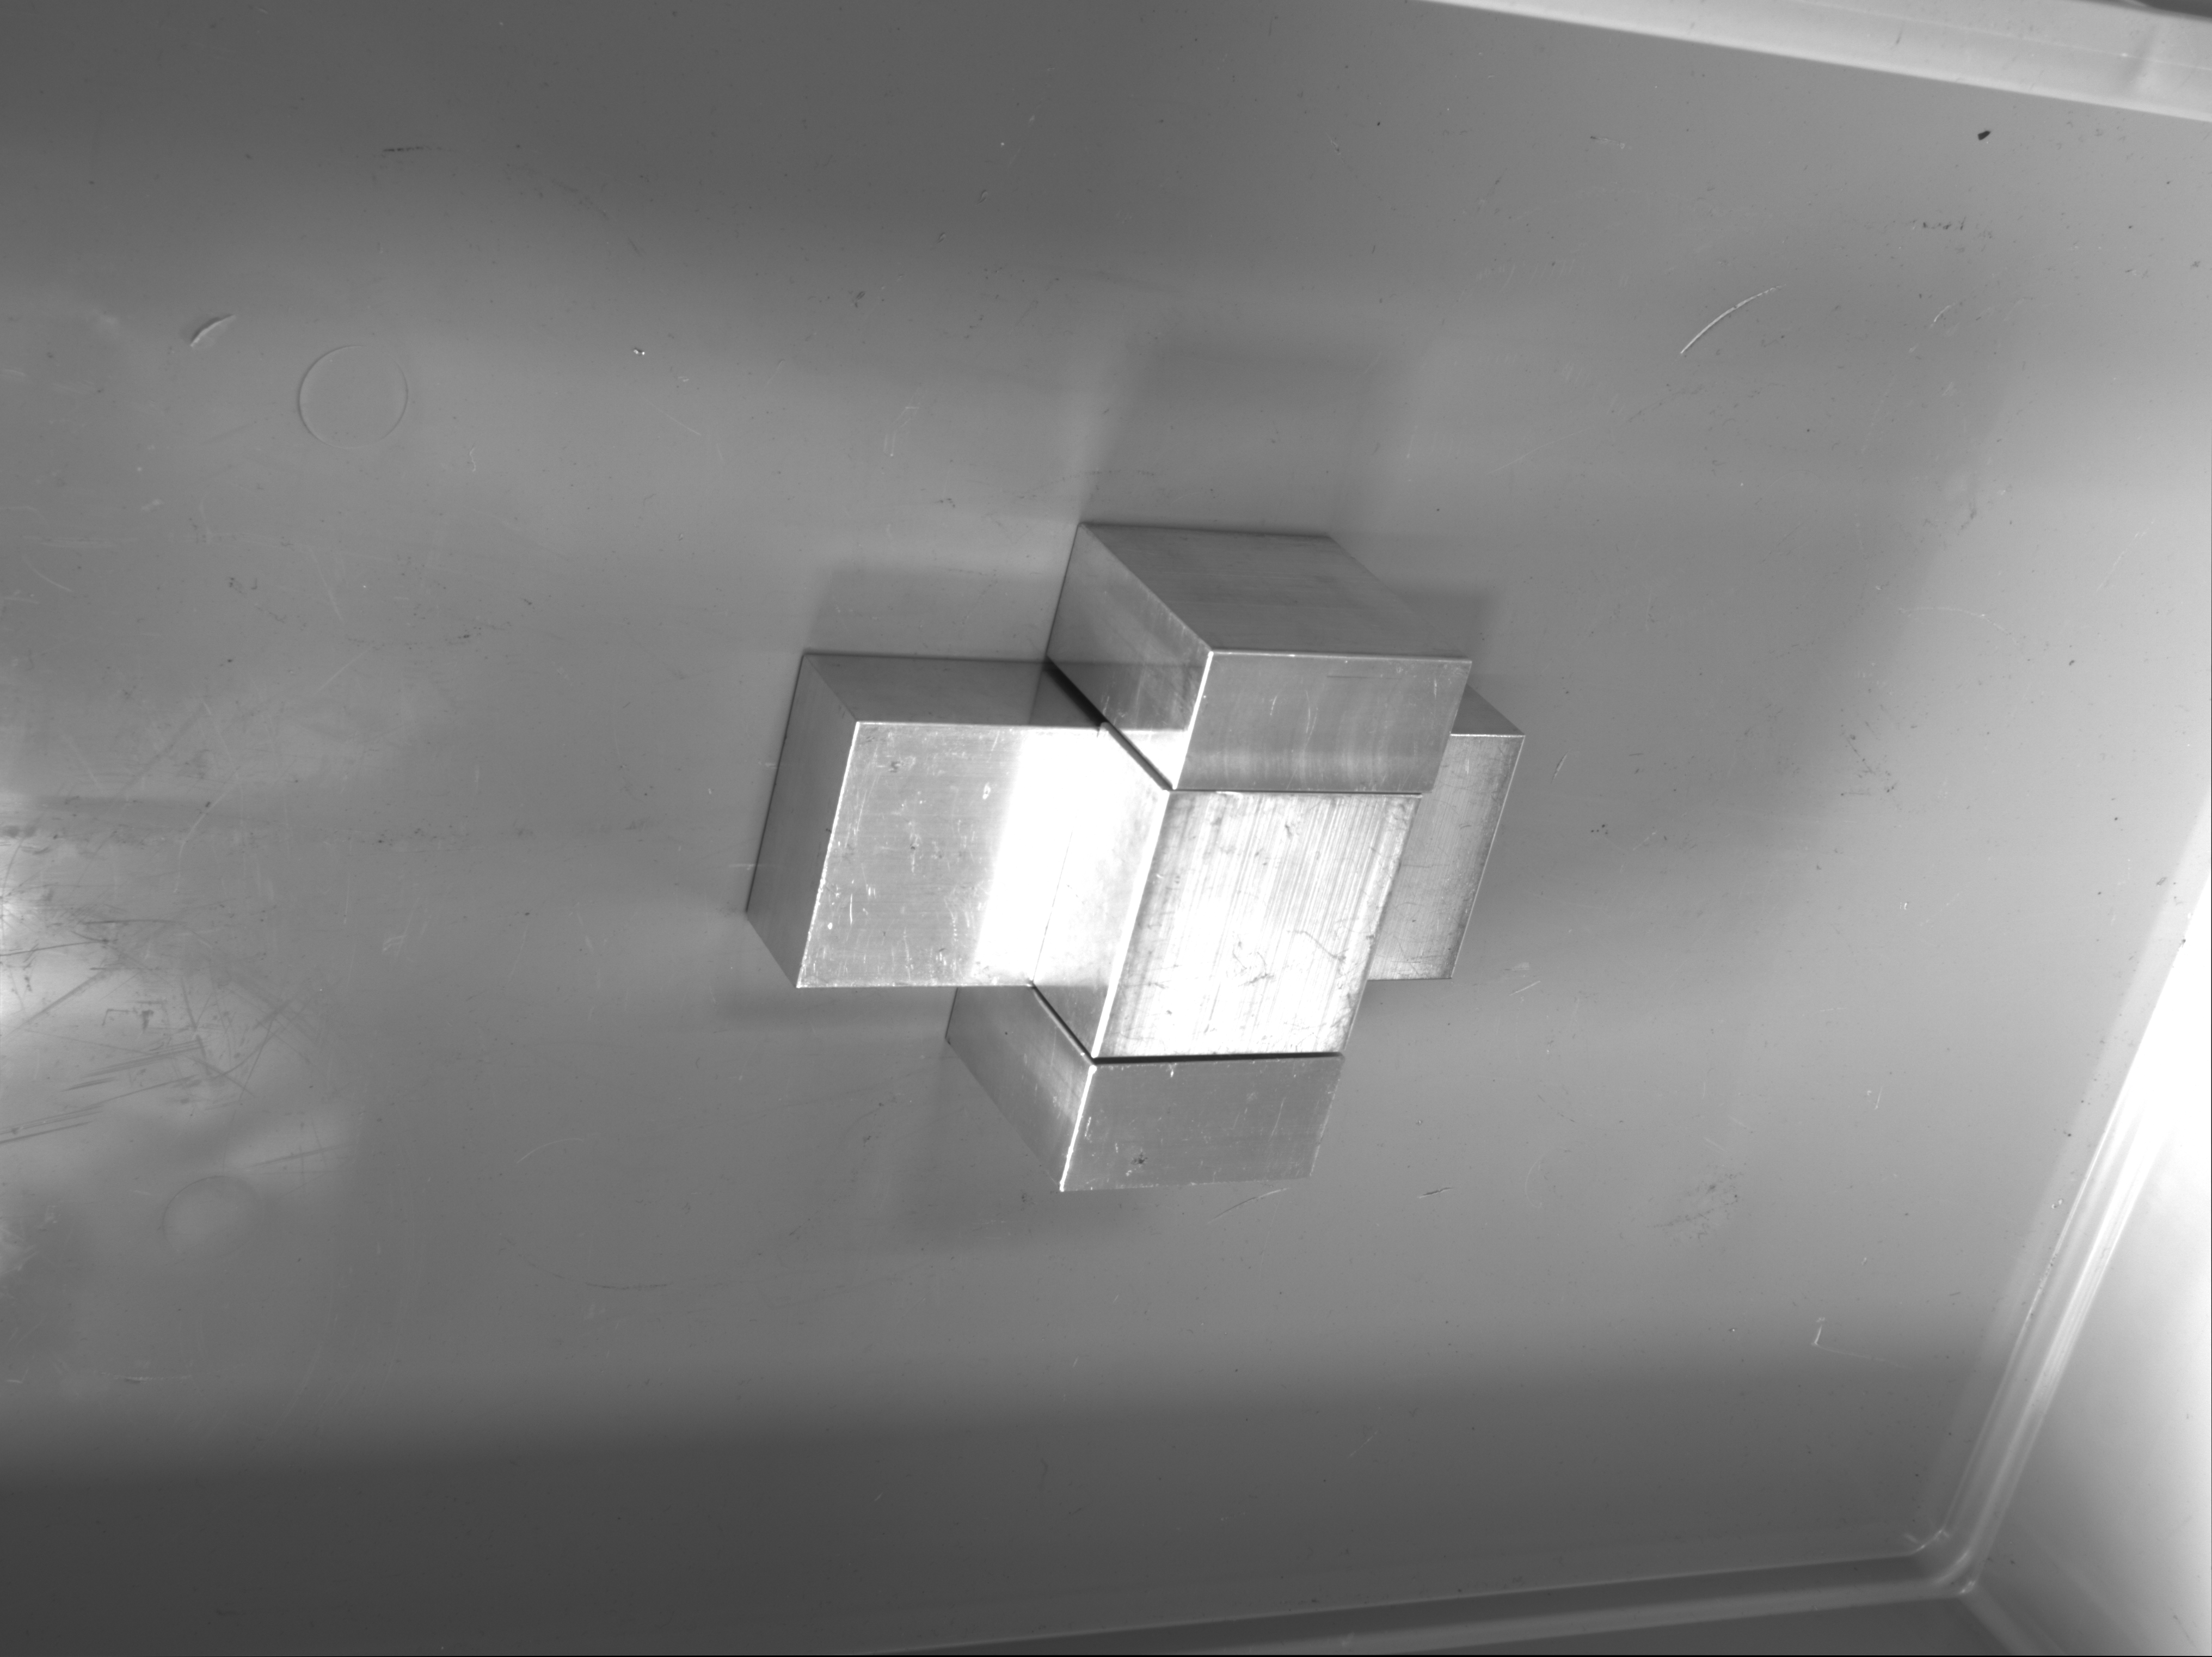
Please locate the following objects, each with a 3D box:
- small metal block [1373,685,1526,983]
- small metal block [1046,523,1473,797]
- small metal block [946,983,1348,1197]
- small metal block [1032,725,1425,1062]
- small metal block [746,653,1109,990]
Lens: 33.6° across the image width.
[{"bbox_3d":[0.041,0.000,0.658,0.050,0.025,0.050,1,118,-29],"label":"small metal block"},{"bbox_3d":[0.025,-0.028,0.615,0.050,0.050,0.025,1,118,-29],"label":"small metal block"},{"bbox_3d":[0.007,0.040,0.645,0.050,0.050,0.025,1,118,-29],"label":"small metal block"},{"bbox_3d":[0.020,0.011,0.620,0.050,0.025,0.050,1,118,-29],"label":"small metal block"},{"bbox_3d":[-0.029,-0.001,0.619,0.050,0.025,0.050,1,118,-29],"label":"small metal block"}]
